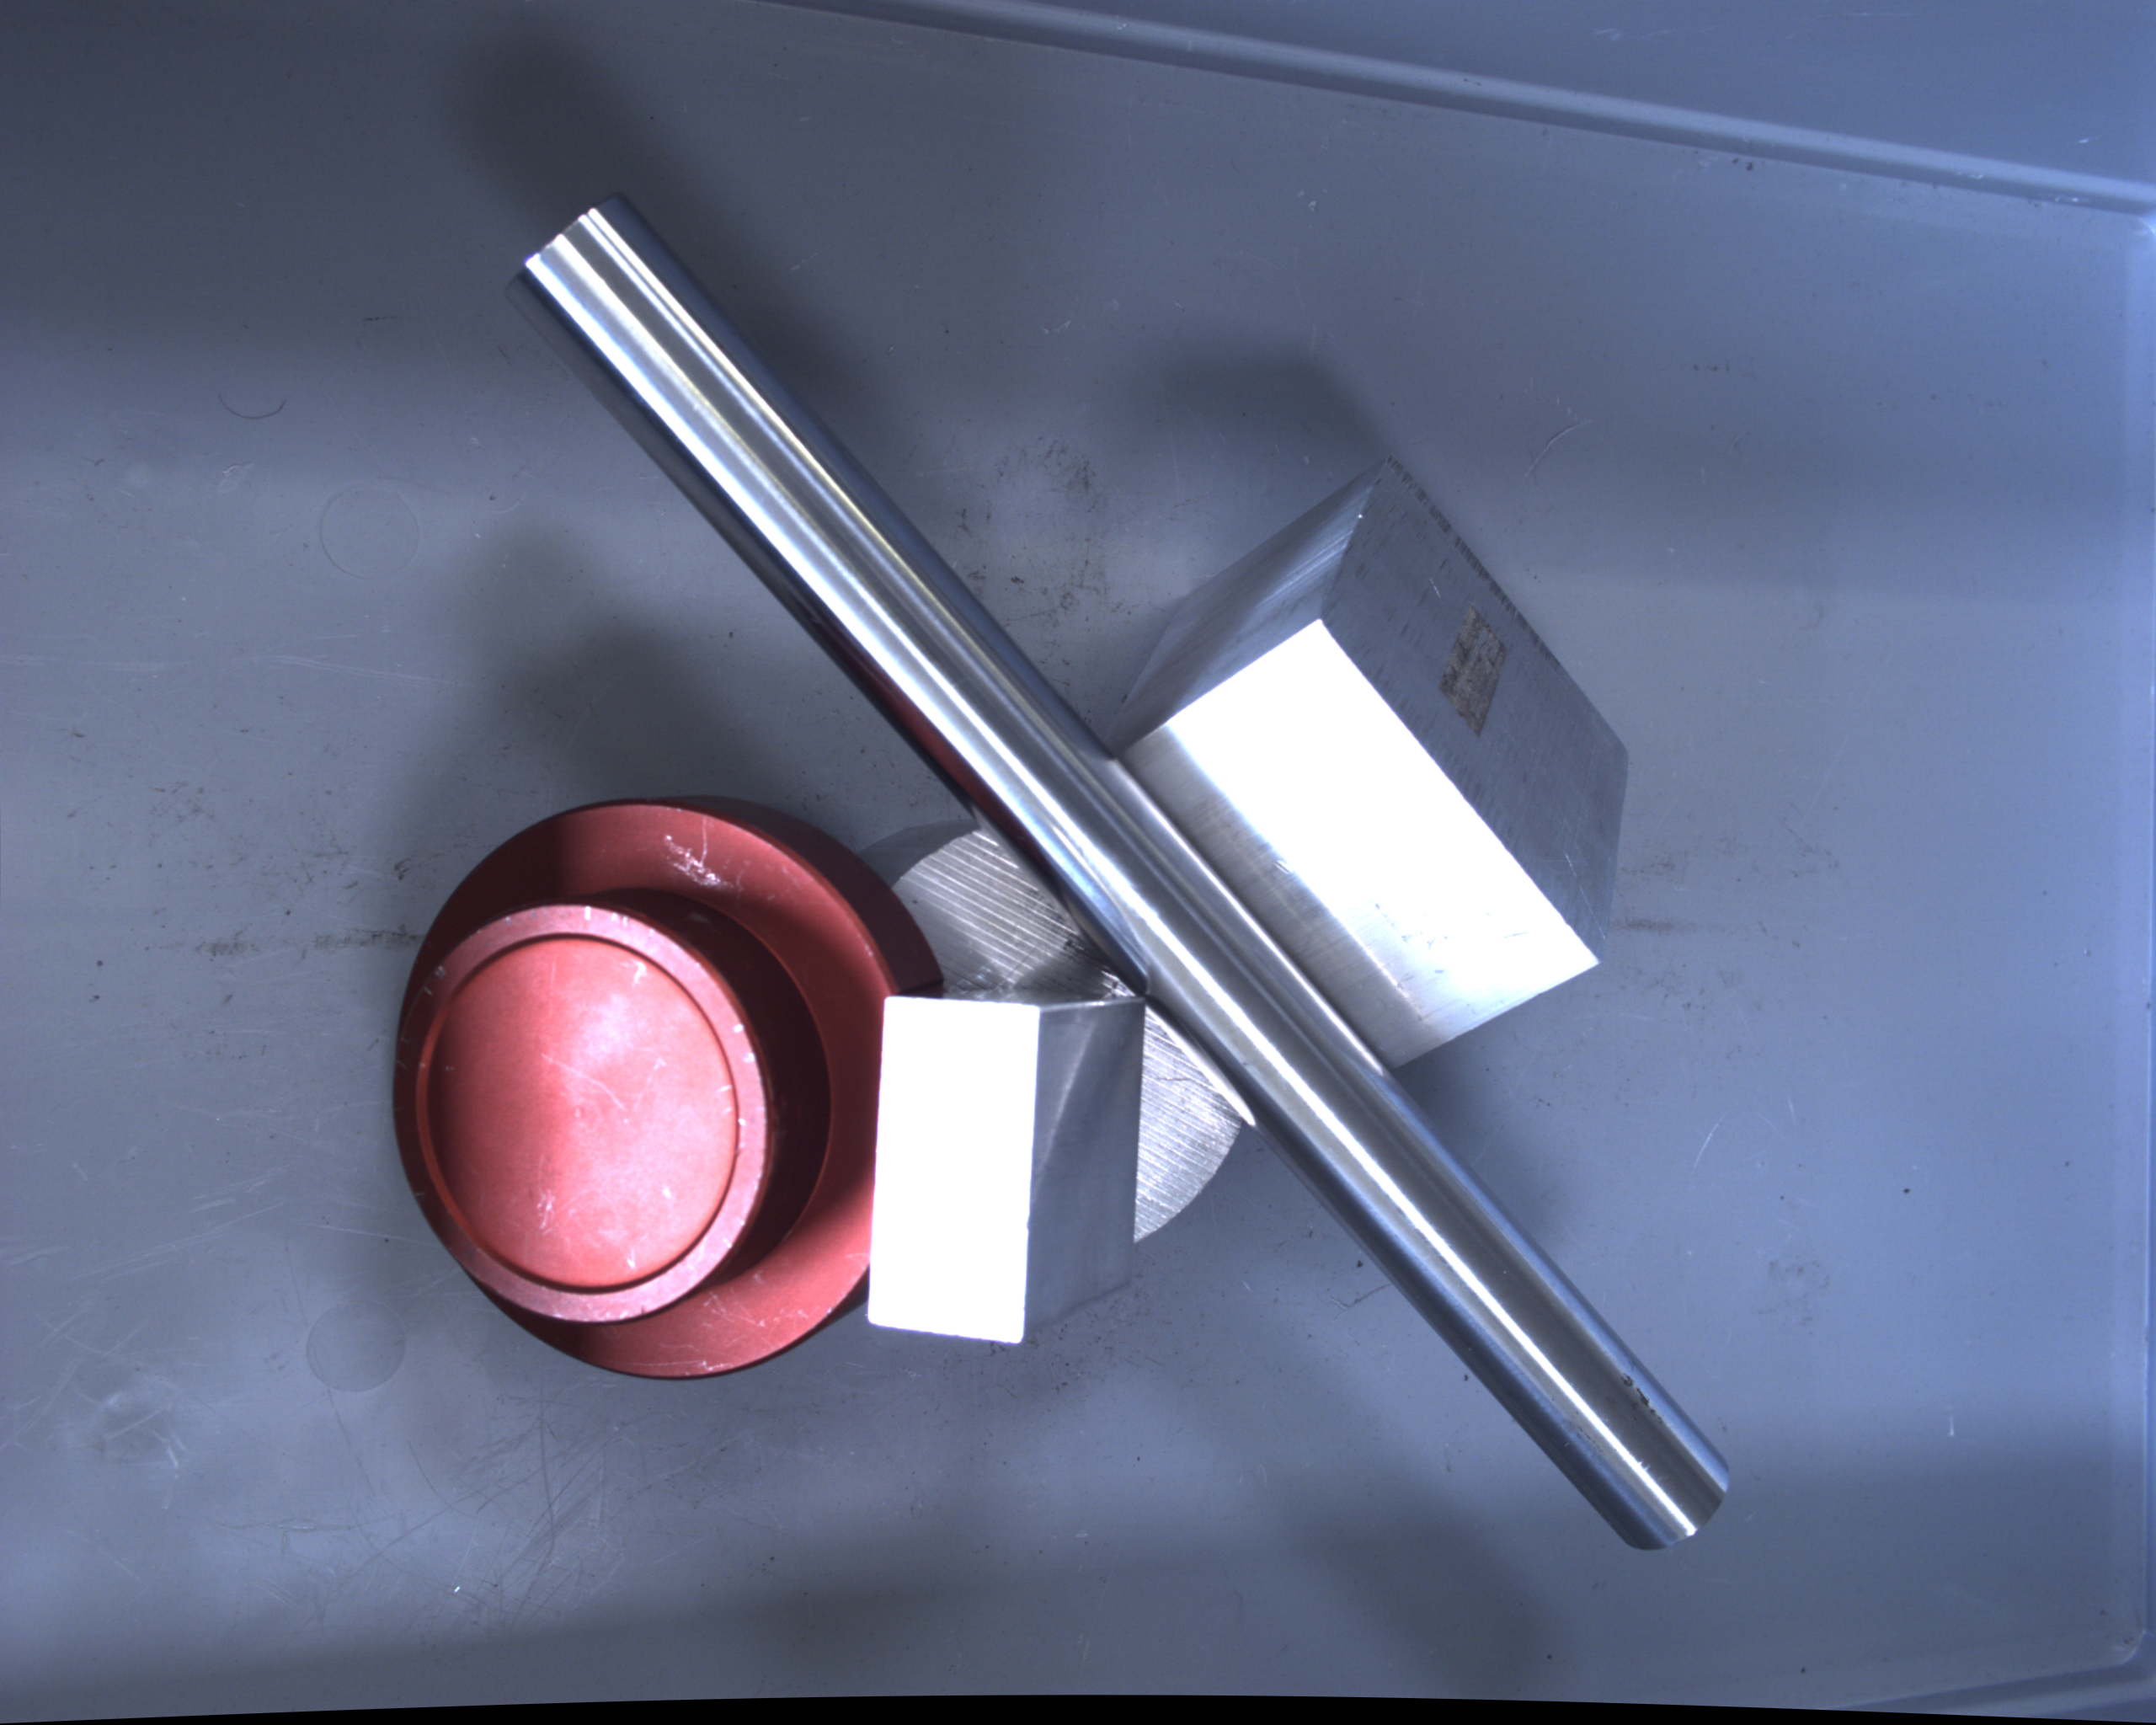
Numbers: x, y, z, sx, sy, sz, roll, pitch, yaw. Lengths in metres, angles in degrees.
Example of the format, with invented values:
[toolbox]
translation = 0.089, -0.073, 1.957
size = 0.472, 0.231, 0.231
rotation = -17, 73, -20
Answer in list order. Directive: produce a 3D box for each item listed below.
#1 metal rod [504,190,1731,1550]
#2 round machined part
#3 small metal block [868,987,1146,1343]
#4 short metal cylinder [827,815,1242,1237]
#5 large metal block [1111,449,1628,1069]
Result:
[metal rod]
translation = 0.017, 0.012, 0.362
size = 0.025, 0.025, 0.300
rotation = -45, 104, -14
[round machined part]
translation = -0.072, 0.038, 0.346
size = 0.098, 0.042, 0.097
rotation = 1, 94, 18
[small metal block]
translation = -0.010, 0.046, 0.336
size = 0.025, 0.050, 0.050
rotation = 3, 89, 20
[short metal cylinder]
translation = -0.013, 0.031, 0.390
size = 0.081, 0.050, 0.079
rotation = 0, 90, -20
[large metal block]
translation = 0.057, -0.020, 0.394
size = 0.080, 0.050, 0.080
rotation = 48, 32, -14
